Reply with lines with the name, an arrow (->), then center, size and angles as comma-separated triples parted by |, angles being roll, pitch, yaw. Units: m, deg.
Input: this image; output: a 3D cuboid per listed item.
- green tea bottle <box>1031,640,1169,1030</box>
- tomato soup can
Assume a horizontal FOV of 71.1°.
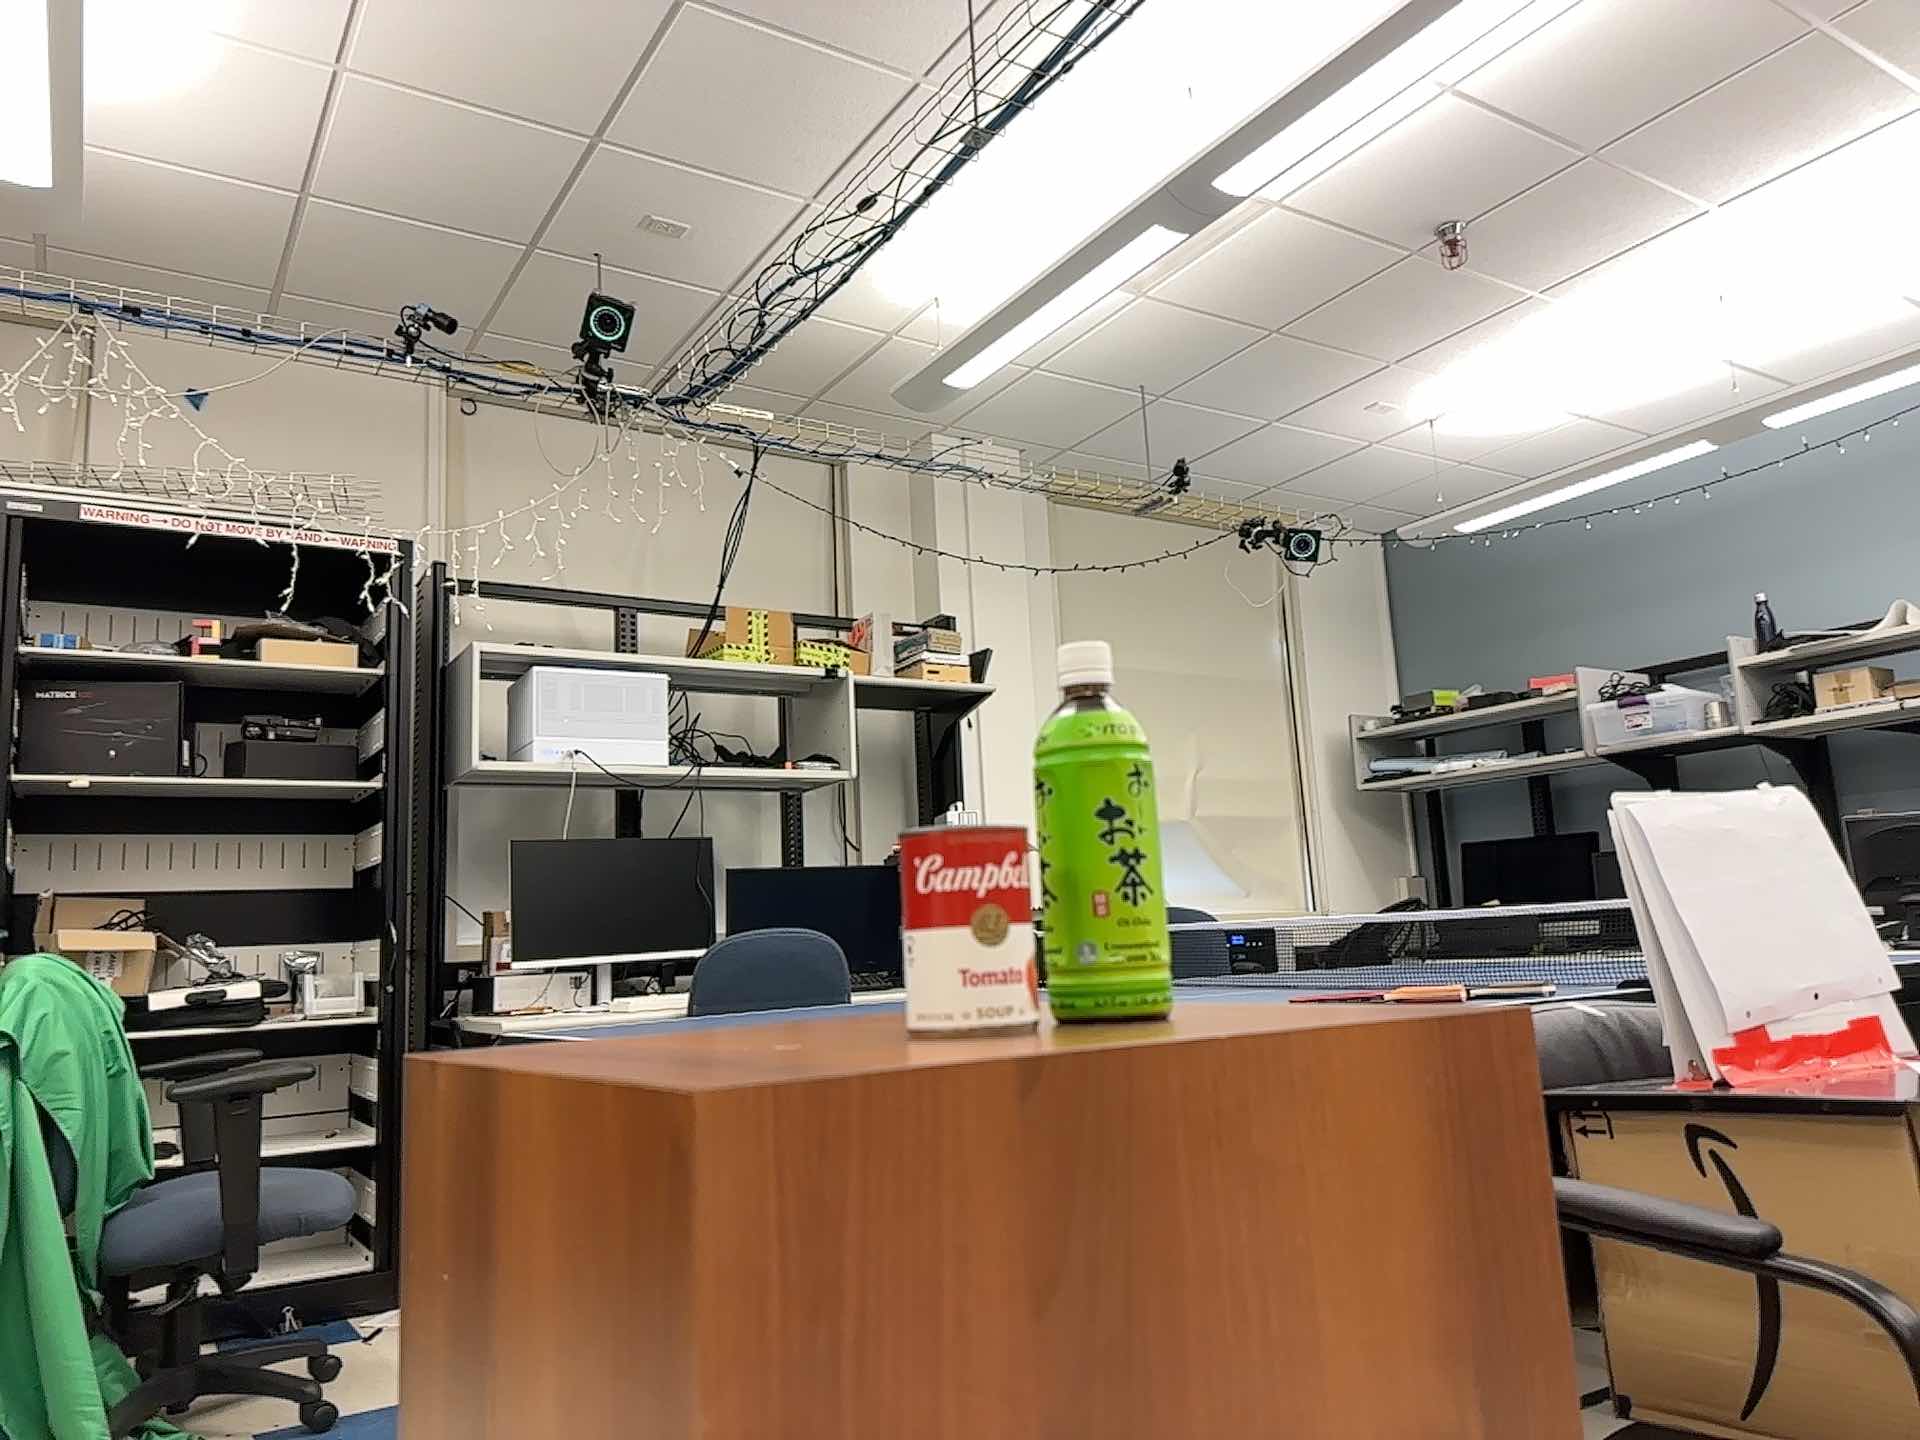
green tea bottle -> 0.074, 0.062, 0.744 | 0.073, 0.212, 0.073 | -4, -8, -1
tomato soup can -> 0.002, 0.103, 0.673 | 0.067, 0.102, 0.067 | -2, -9, 0
